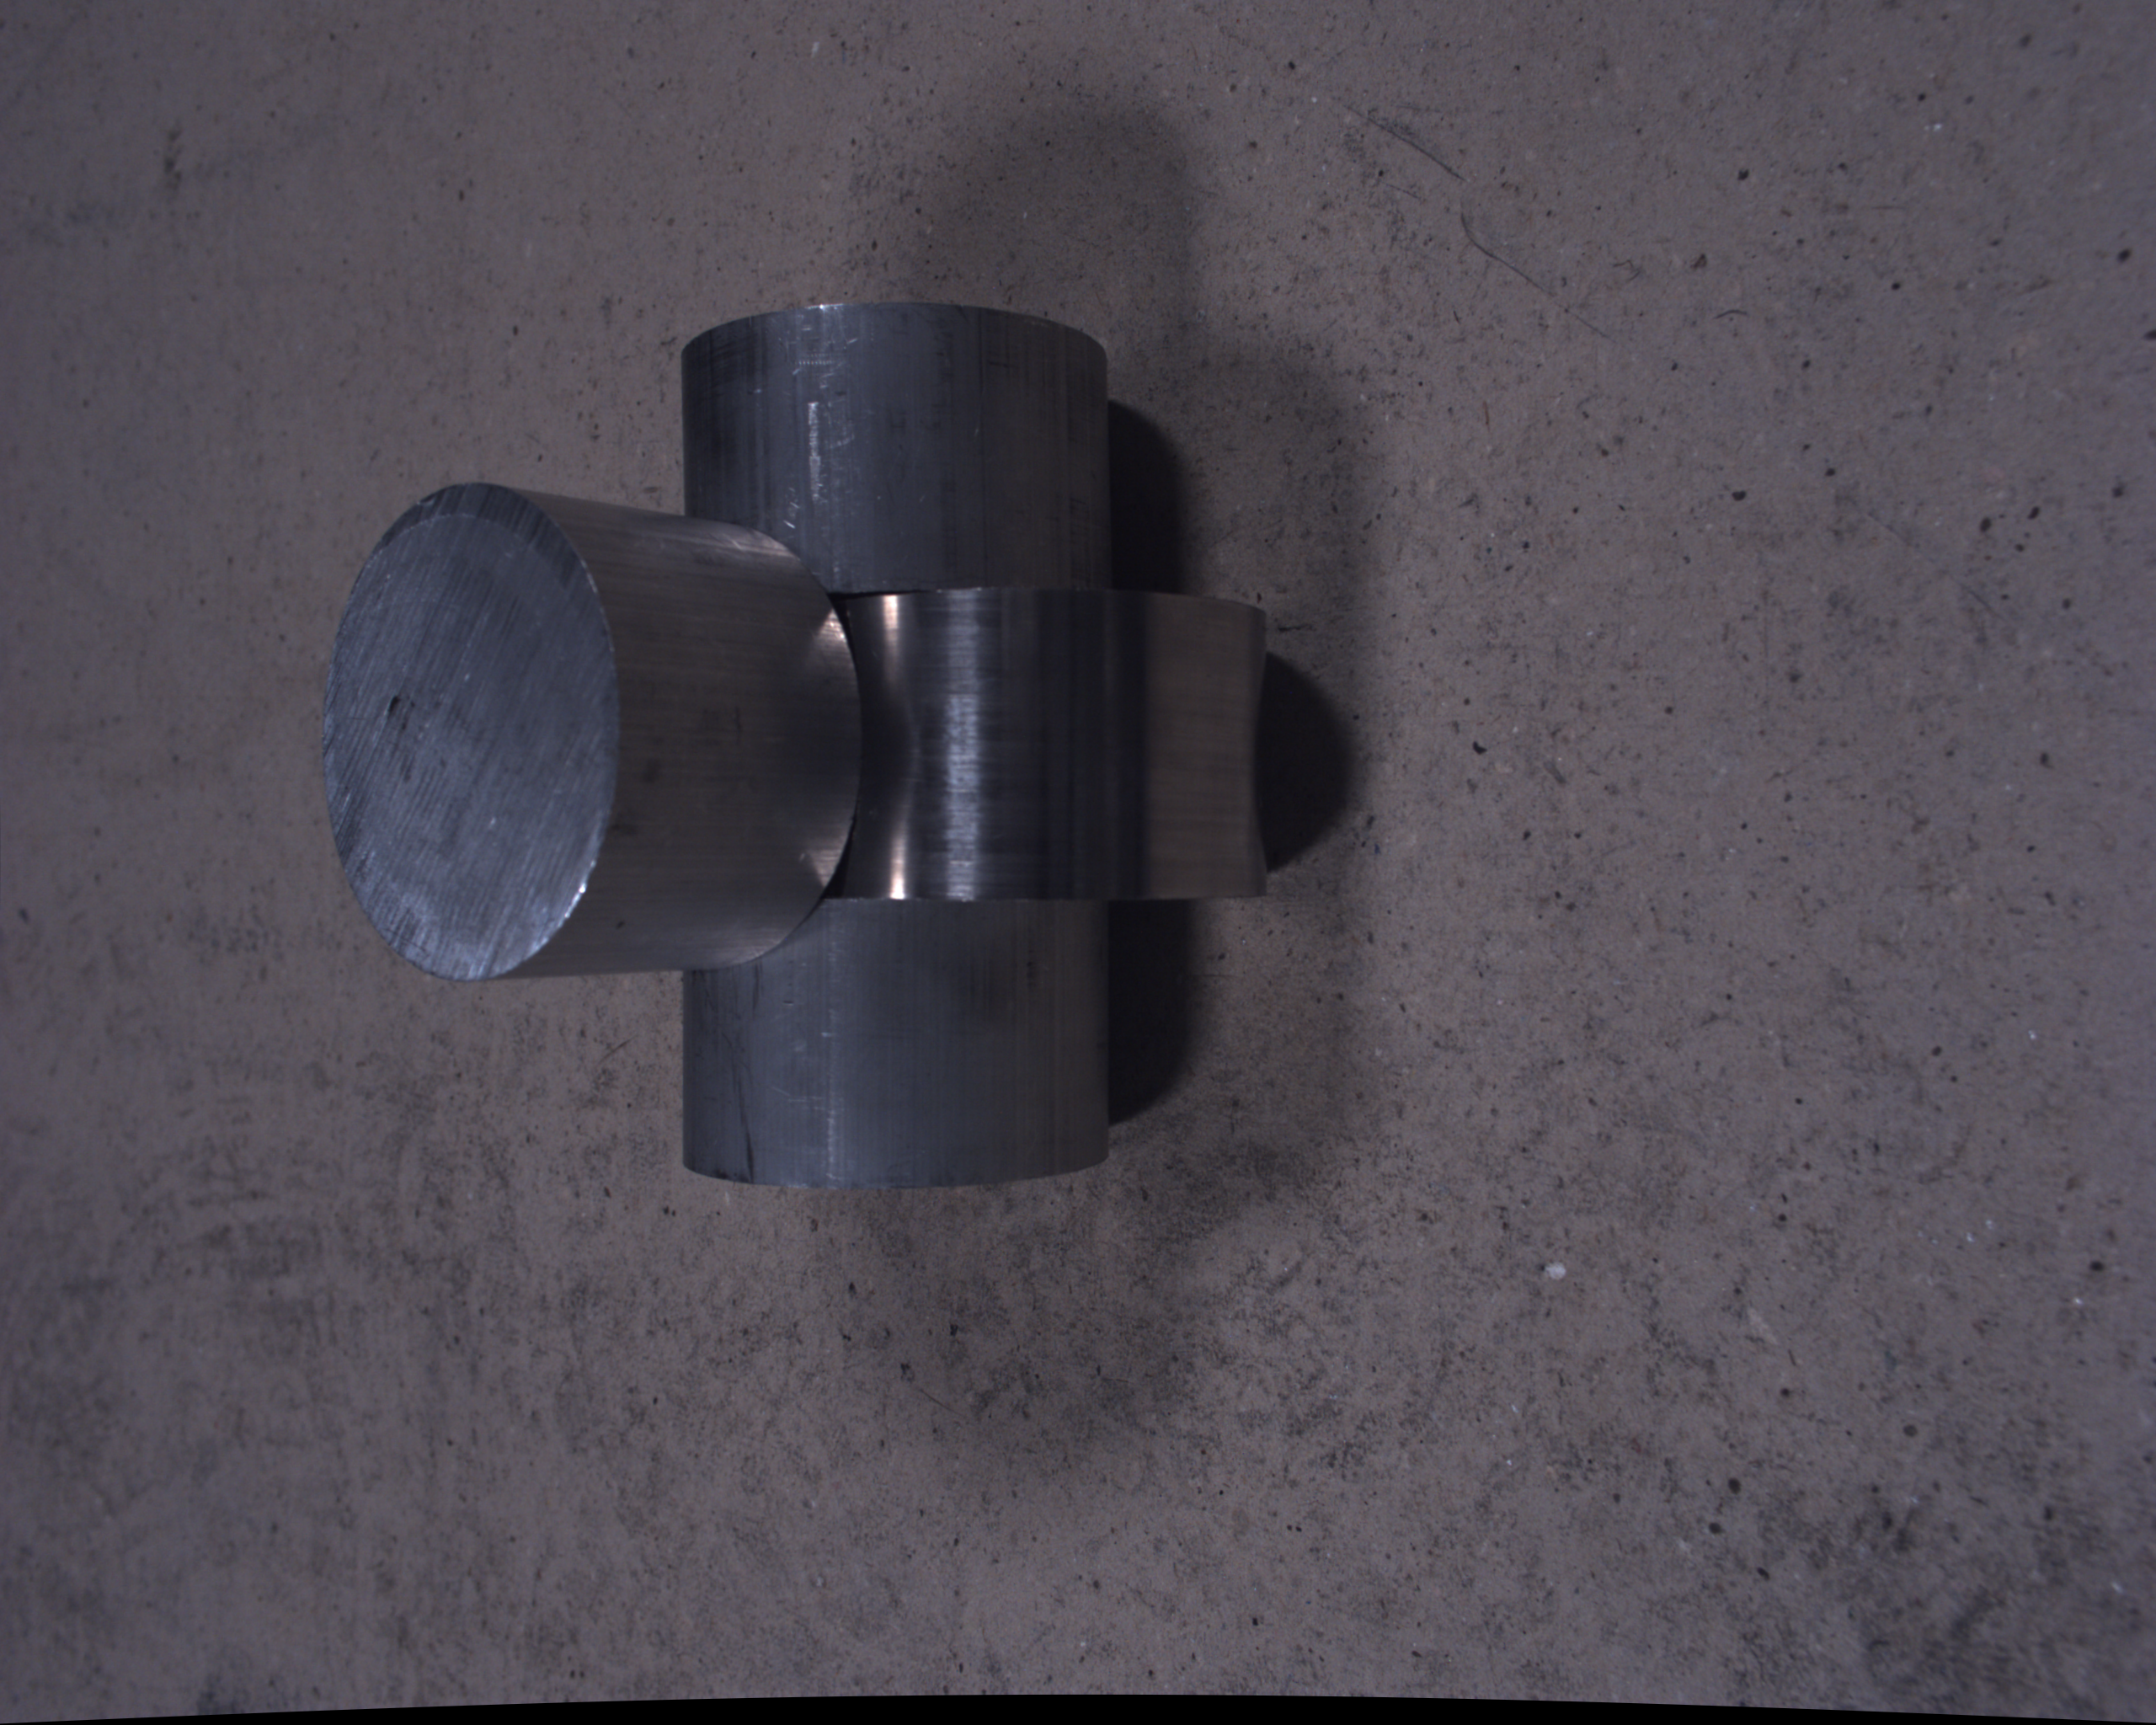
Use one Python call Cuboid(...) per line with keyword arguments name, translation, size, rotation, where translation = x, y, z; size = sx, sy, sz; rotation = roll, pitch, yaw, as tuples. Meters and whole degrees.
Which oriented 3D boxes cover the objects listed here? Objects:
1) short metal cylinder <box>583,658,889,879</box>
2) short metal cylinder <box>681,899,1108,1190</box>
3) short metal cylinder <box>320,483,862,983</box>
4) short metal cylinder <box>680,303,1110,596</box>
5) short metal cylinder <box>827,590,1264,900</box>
Cuboid(name="short metal cylinder", translation=(-0.069, -0.019, 0.425), size=(0.080, 0.081, 0.050), rotation=(-1, 89, 39))
Cuboid(name="short metal cylinder", translation=(-0.035, 0.031, 0.397), size=(0.080, 0.081, 0.050), rotation=(0, 90, 39))
Cuboid(name="short metal cylinder", translation=(-0.083, -0.021, 0.351), size=(0.080, 0.050, 0.079), rotation=(0, 90, 39))
Cuboid(name="short metal cylinder", translation=(-0.034, -0.071, 0.397), size=(0.080, 0.081, 0.050), rotation=(-2, 89, 39))
Cuboid(name="short metal cylinder", translation=(-0.007, -0.019, 0.374), size=(0.080, 0.081, 0.050), rotation=(0, 90, 39))
